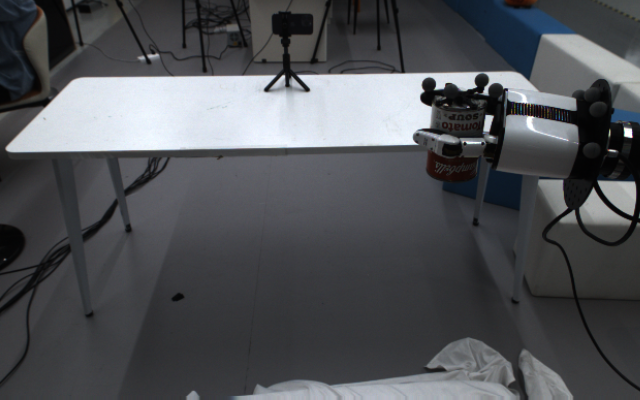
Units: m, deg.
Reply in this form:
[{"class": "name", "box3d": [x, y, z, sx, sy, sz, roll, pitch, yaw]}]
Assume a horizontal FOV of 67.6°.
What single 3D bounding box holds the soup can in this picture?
[{"class": "soup can", "box3d": [0.178, -0.083, 0.628, 0.067, 0.101, 0.067, -2, 33, 1]}]
